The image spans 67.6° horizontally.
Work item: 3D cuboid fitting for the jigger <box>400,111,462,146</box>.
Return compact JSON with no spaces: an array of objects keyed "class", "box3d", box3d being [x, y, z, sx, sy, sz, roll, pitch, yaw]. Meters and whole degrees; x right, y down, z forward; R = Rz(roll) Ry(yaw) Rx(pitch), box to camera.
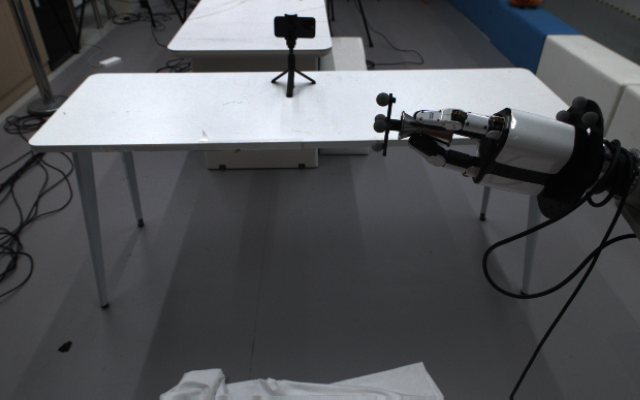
[{"class":"jigger","box3d":[0.149,-0.102,0.657,0.071,0.043,0.043,5,35,4]}]
